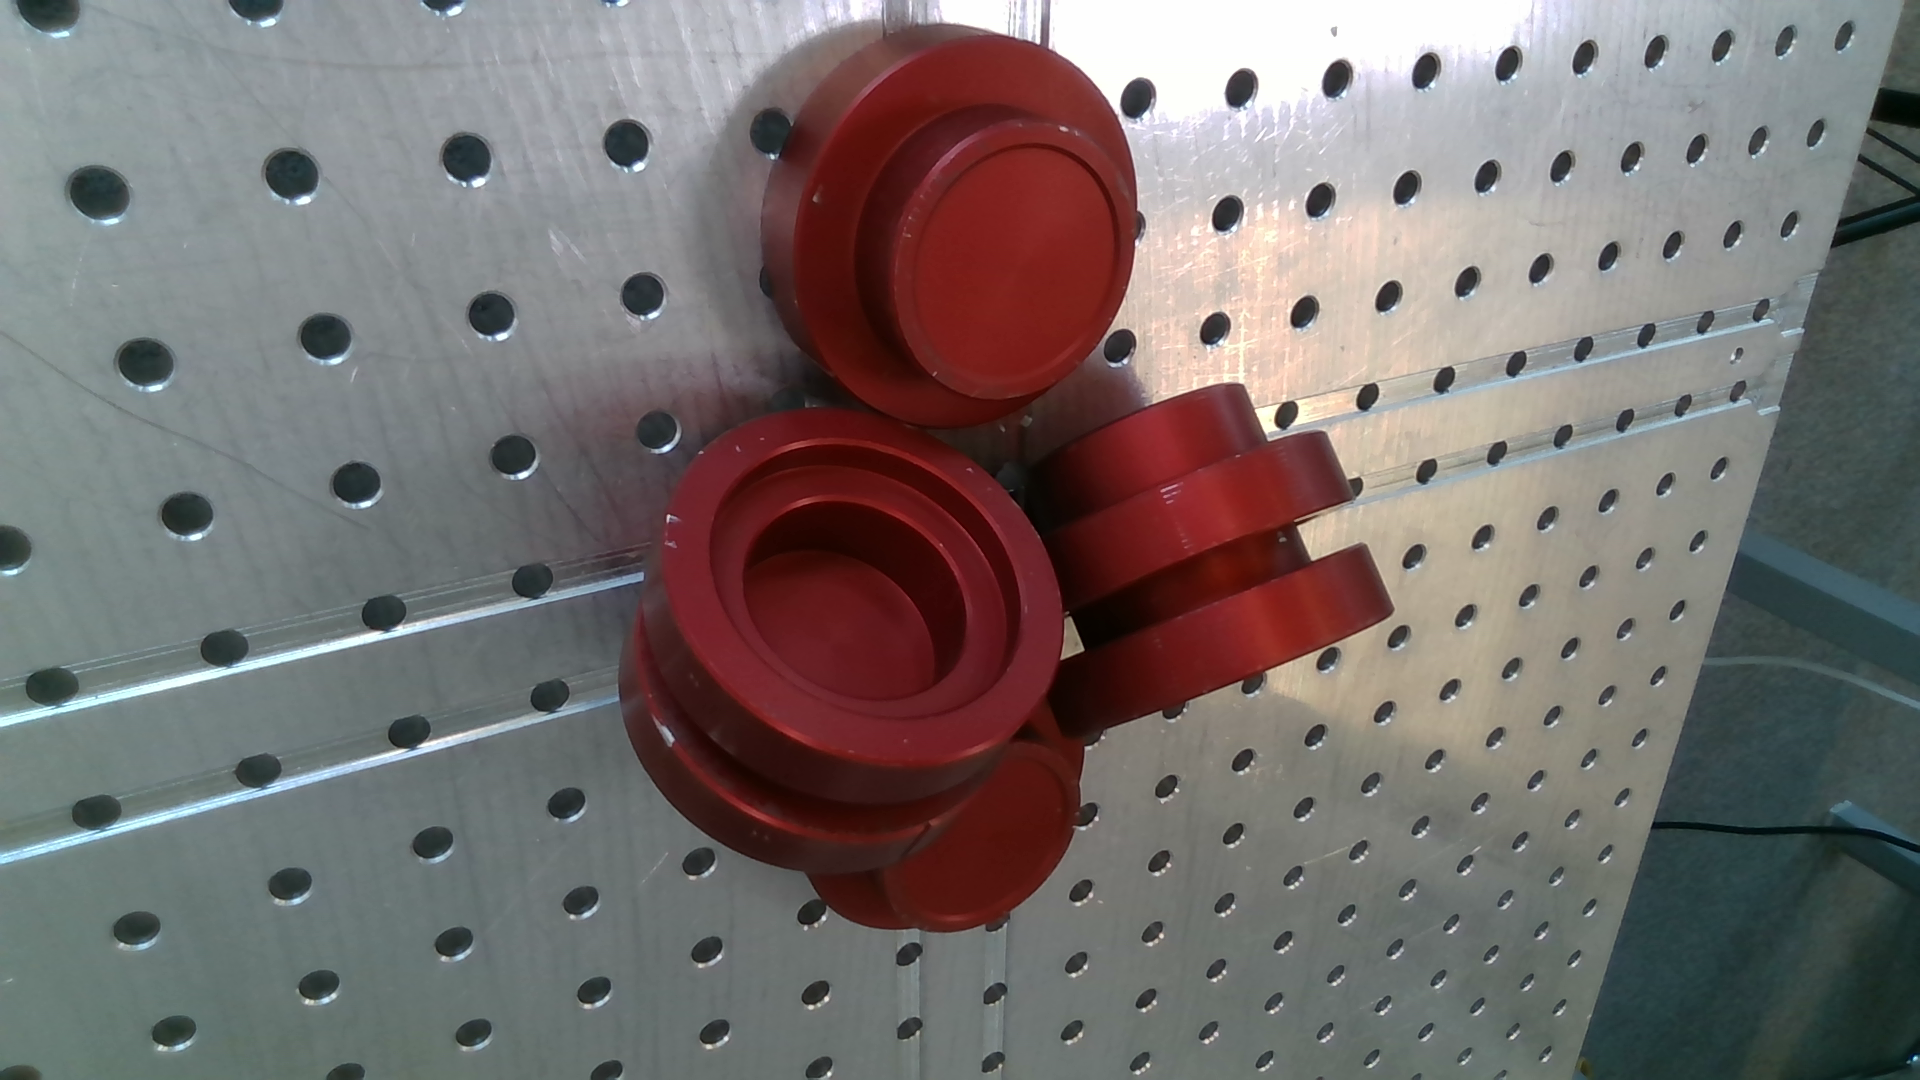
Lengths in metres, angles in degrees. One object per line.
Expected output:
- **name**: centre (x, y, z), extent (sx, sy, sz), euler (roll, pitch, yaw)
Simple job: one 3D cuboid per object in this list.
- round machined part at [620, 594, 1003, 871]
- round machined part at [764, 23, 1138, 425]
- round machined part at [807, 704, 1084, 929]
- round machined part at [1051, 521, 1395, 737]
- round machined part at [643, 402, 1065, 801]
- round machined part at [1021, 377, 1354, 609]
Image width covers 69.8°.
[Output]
- **round machined part**: centre (-0.039, 0.039, 0.354), extent (0.098, 0.098, 0.042), euler (-4, 149, -30)
- **round machined part**: centre (0.005, -0.074, 0.343), extent (0.098, 0.042, 0.098), euler (-14, 122, -25)
- **round machined part**: centre (-0.003, 0.079, 0.422), extent (0.098, 0.042, 0.098), euler (-14, 122, -25)
- **round machined part**: centre (0.067, 0.018, 0.387), extent (0.098, 0.098, 0.042), euler (-20, 84, -22)
- **round machined part**: centre (-0.028, 0.018, 0.332), extent (0.098, 0.098, 0.042), euler (-5, 149, -30)
- **round machined part**: centre (0.056, -0.013, 0.388), extent (0.098, 0.098, 0.042), euler (-20, 84, -22)
